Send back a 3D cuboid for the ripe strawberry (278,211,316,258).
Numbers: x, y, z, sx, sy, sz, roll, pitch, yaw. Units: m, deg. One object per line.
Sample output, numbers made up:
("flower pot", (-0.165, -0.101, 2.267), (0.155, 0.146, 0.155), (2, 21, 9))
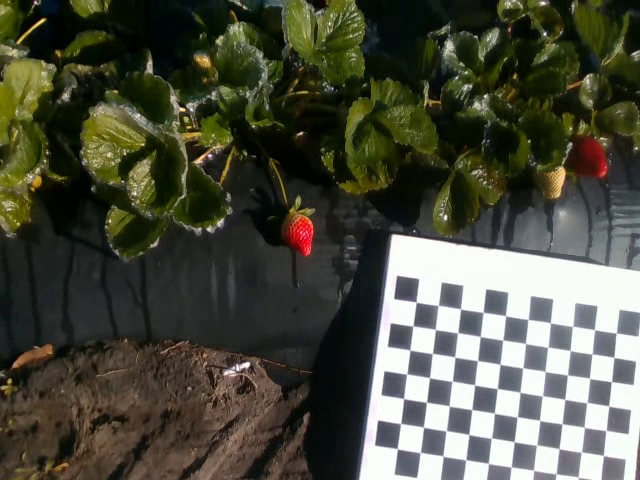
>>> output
("ripe strawberry", (-0.020, -0.006, 0.678), (0.039, 0.053, 0.041), (-14, -20, -6))
